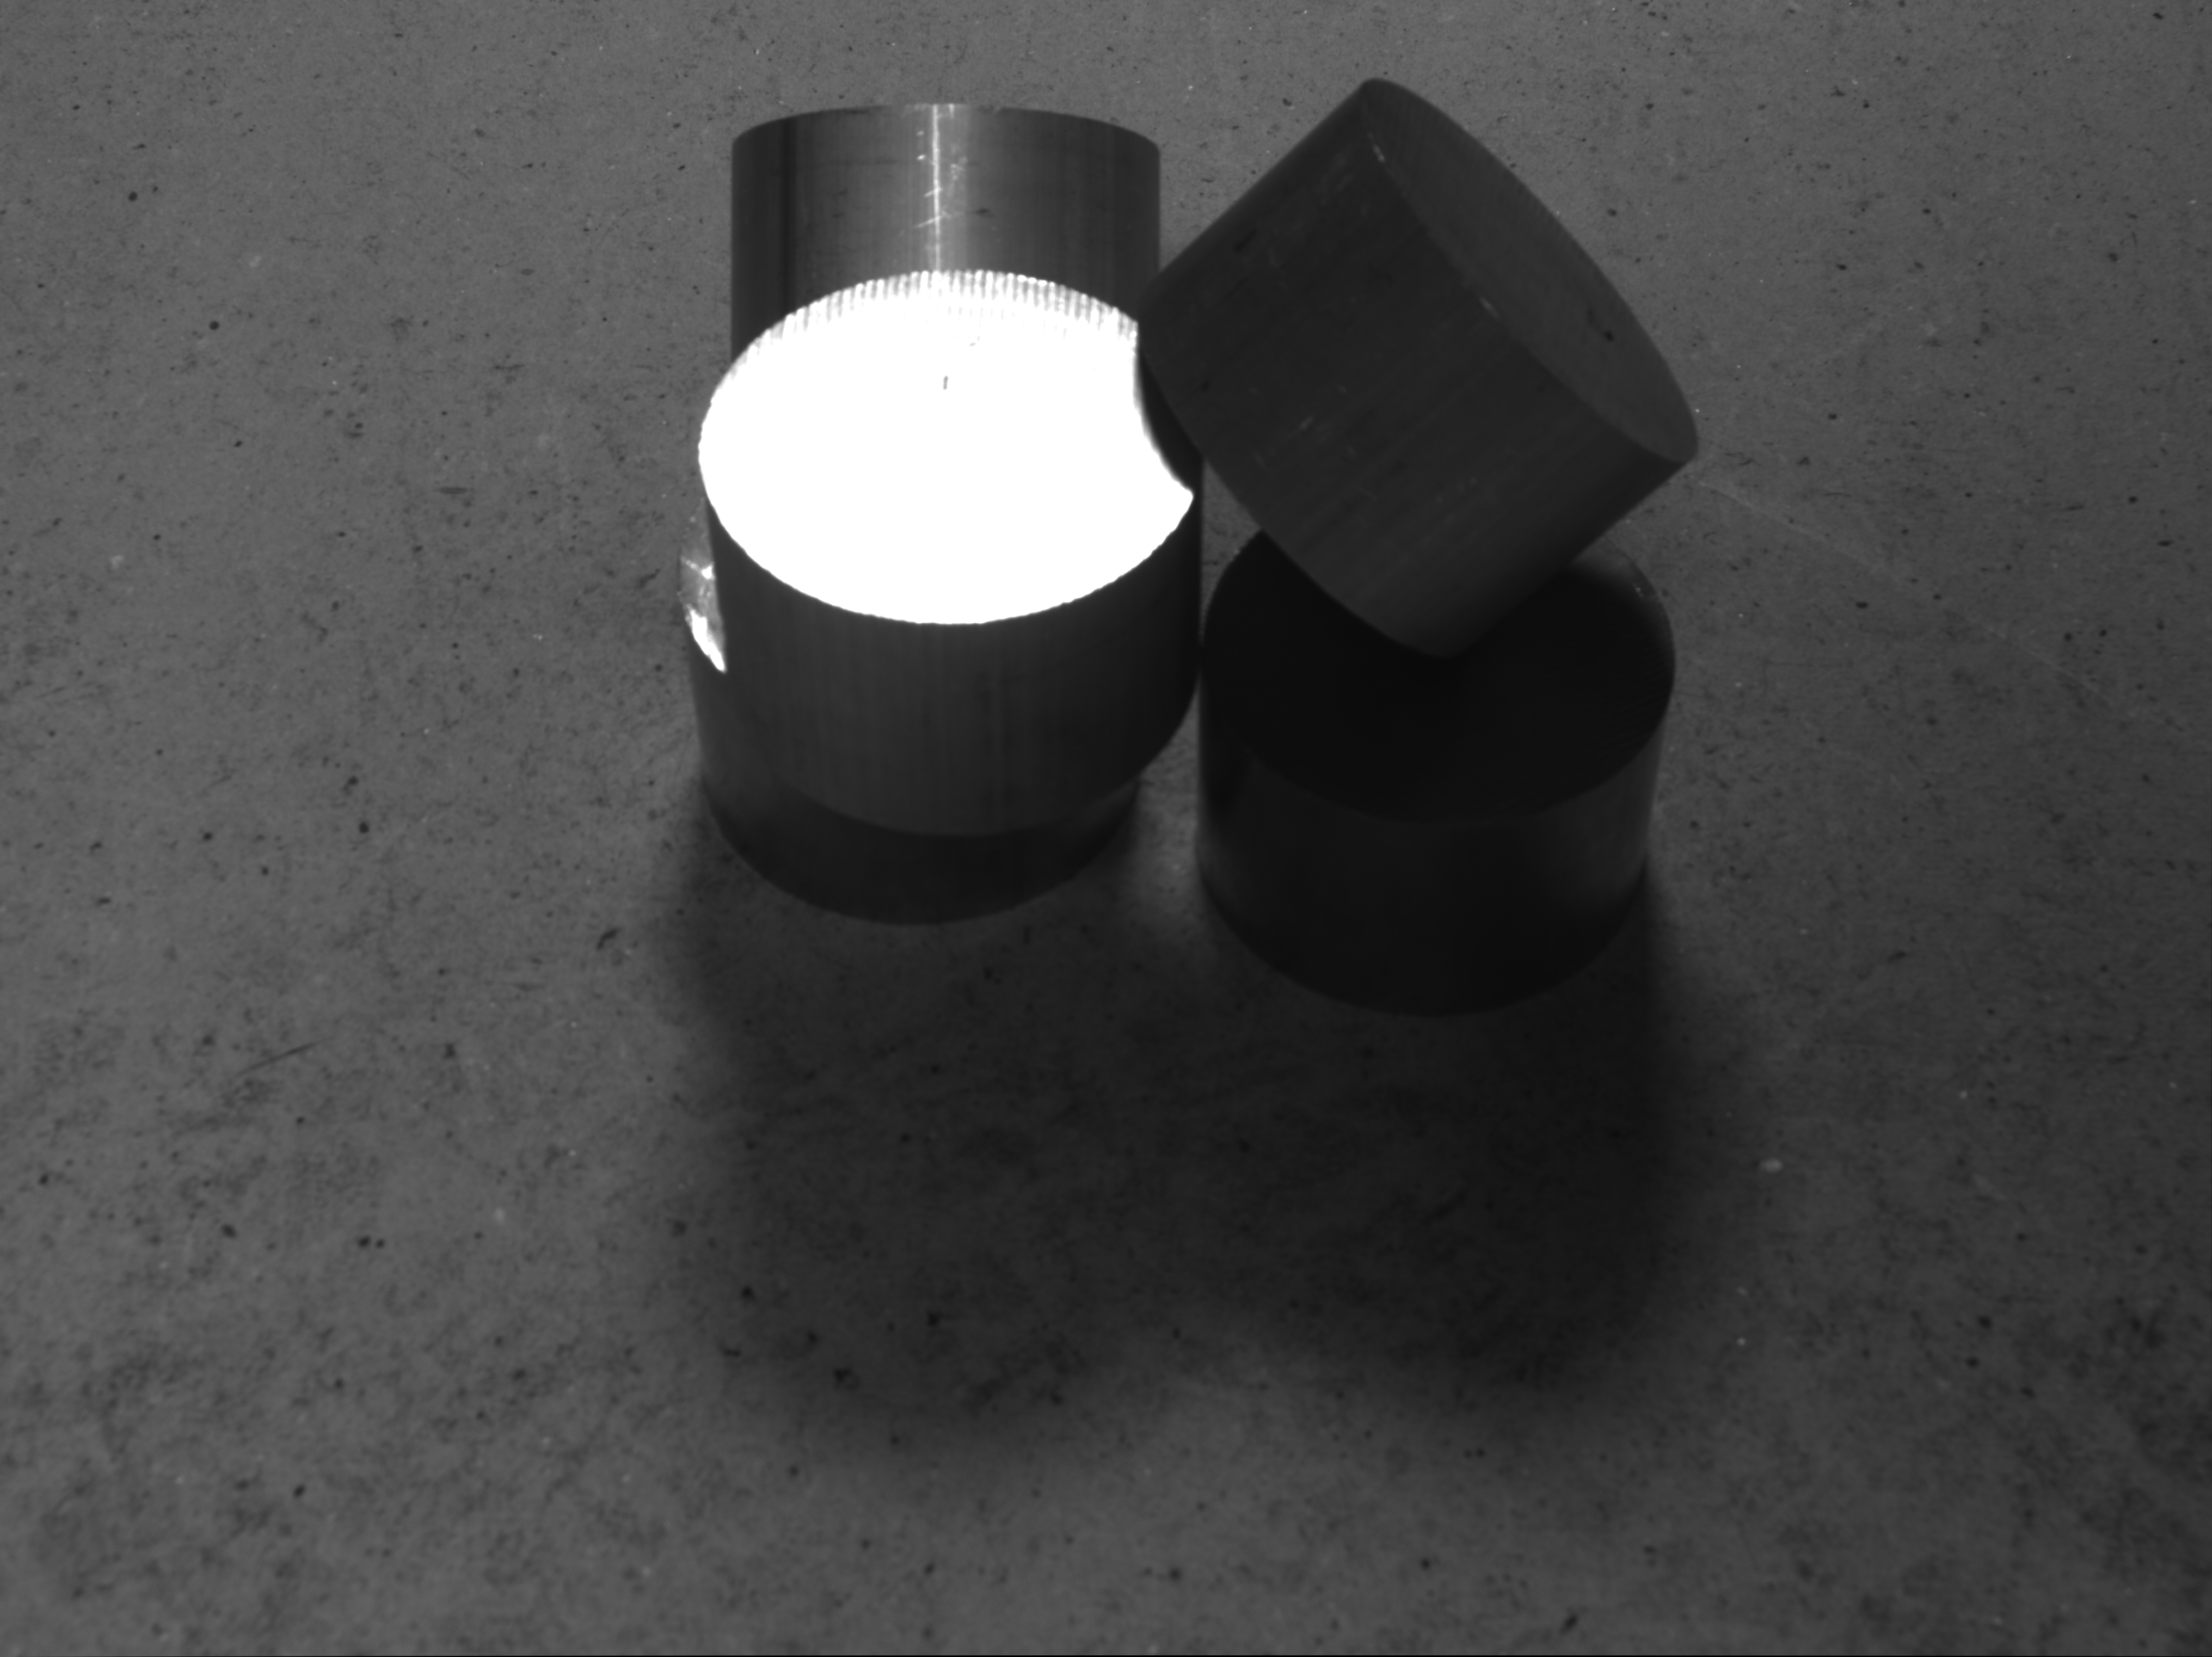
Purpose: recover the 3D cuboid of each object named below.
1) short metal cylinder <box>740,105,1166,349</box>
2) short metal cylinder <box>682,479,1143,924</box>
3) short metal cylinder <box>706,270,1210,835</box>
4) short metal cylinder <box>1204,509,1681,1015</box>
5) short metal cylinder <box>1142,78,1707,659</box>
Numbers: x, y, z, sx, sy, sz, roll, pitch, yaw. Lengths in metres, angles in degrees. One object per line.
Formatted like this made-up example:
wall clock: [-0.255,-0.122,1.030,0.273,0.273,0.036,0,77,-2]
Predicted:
short metal cylinder: [-0.029,-0.101,0.683,0.080,0.080,0.050,0,88,0]
short metal cylinder: [-0.033,-0.030,0.651,0.080,0.050,0.080,0,50,0]
short metal cylinder: [-0.023,-0.046,0.598,0.080,0.050,0.080,0,50,0]
short metal cylinder: [0.057,-0.015,0.637,0.080,0.050,0.080,0,50,0]
short metal cylinder: [0.052,-0.074,0.594,0.050,0.080,0.080,-41,48,23]
